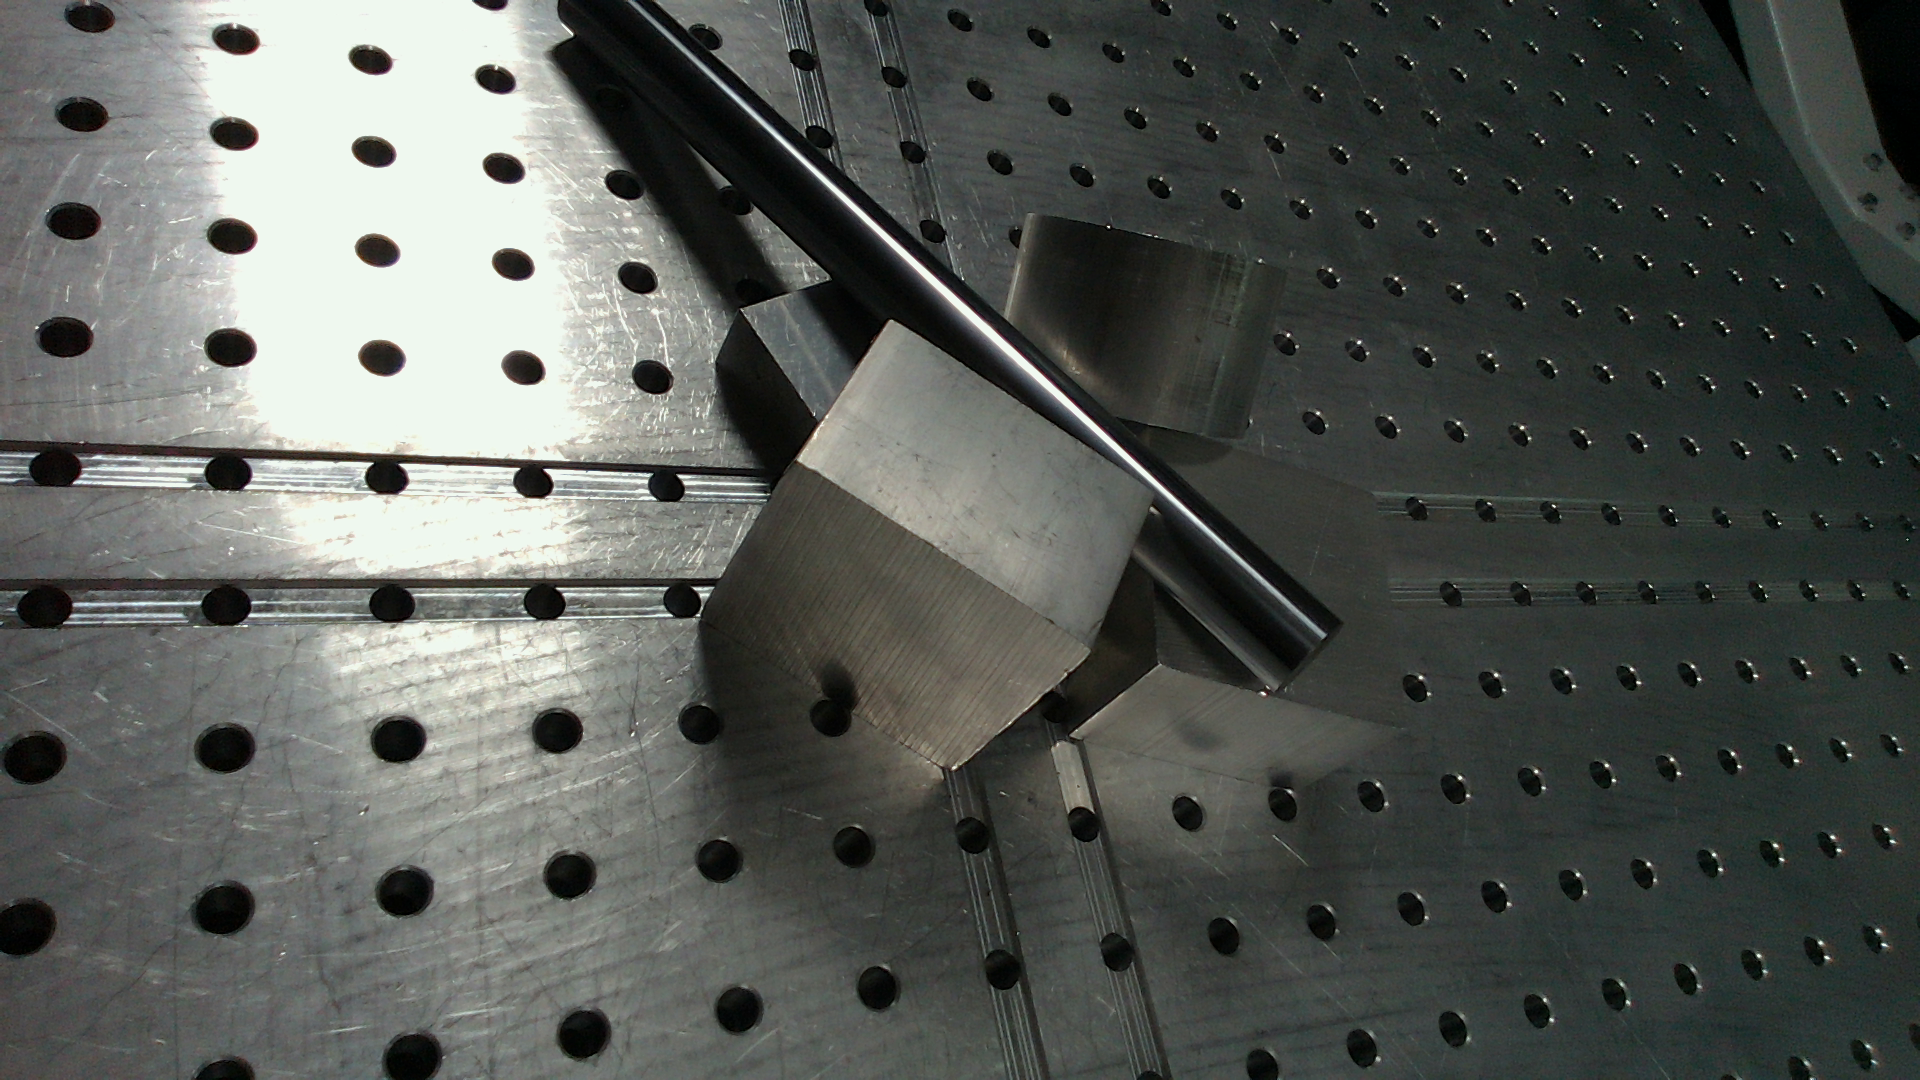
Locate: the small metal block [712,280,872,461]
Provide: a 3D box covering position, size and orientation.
[{"bbox_3d":[-0.035,-0.048,0.404,0.050,0.025,0.050,-27,76,-37],"label":"small metal block"}]

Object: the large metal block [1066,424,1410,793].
[{"bbox_3d":[0.079,0.020,0.406,0.080,0.050,0.080,16,55,-19],"label":"large metal block"}]

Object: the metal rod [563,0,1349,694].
[{"bbox_3d":[-0.013,-0.070,0.390,0.299,0.025,0.025,44,50,18],"label":"metal rod"}]

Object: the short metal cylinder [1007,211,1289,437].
[{"bbox_3d":[0.054,-0.065,0.418,0.080,0.080,0.050,8,101,-24],"label":"short metal cylinder"}]

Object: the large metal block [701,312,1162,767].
[{"bbox_3d":[-0.009,0.003,0.350,0.080,0.080,0.050,32,51,-7],"label":"large metal block"}]
